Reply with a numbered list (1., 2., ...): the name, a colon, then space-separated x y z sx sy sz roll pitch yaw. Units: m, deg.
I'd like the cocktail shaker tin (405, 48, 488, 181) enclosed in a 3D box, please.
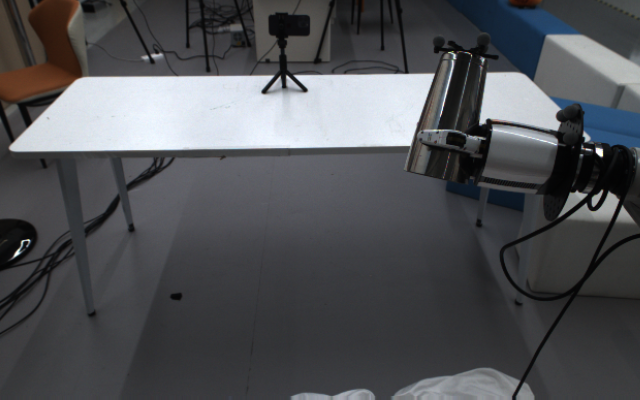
1. cocktail shaker tin: 0.183 -0.115 0.682 0.093 0.170 0.093 13 4 -1
